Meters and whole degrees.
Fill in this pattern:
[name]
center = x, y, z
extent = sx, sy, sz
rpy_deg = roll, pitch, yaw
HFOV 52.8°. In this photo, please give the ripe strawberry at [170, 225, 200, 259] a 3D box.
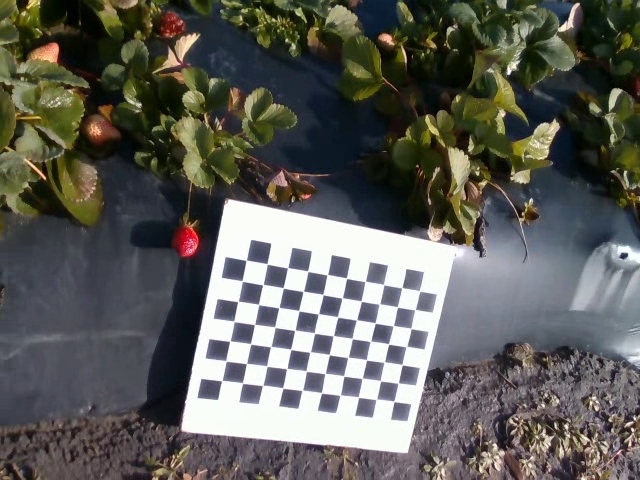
[ripe strawberry]
center = -0.129, 0.003, 0.612
extent = 0.034, 0.038, 0.033
rpy_deg = 9, -47, -16
